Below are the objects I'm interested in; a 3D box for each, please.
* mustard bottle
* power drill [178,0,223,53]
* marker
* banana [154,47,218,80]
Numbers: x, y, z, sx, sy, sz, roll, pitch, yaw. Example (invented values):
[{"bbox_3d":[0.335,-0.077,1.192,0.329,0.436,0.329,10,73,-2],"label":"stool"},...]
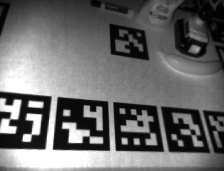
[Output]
[{"bbox_3d":[0.137,-0.234,0.570,0.097,0.191,0.058,17,59,-10],"label":"mustard bottle"},{"bbox_3d":[0.243,-0.170,0.556,0.057,0.186,0.184,20,56,-9],"label":"power drill"},{"bbox_3d":[-0.008,-0.220,0.613,0.122,0.019,0.019,9,62,-15],"label":"marker"},{"bbox_3d":[0.207,-0.051,0.594,0.198,0.039,0.074,14,62,-10],"label":"banana"}]
